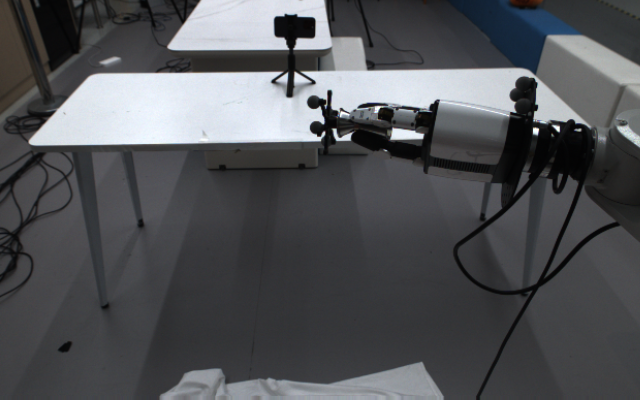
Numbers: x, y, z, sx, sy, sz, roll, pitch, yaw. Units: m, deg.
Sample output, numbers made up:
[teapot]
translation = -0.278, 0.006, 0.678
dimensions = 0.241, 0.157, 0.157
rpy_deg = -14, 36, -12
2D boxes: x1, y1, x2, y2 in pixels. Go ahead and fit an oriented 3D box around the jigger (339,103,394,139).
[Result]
[jigger]
translation = 0.067, -0.107, 0.647
dimensions = 0.071, 0.043, 0.043
rpy_deg = 2, 34, 16
